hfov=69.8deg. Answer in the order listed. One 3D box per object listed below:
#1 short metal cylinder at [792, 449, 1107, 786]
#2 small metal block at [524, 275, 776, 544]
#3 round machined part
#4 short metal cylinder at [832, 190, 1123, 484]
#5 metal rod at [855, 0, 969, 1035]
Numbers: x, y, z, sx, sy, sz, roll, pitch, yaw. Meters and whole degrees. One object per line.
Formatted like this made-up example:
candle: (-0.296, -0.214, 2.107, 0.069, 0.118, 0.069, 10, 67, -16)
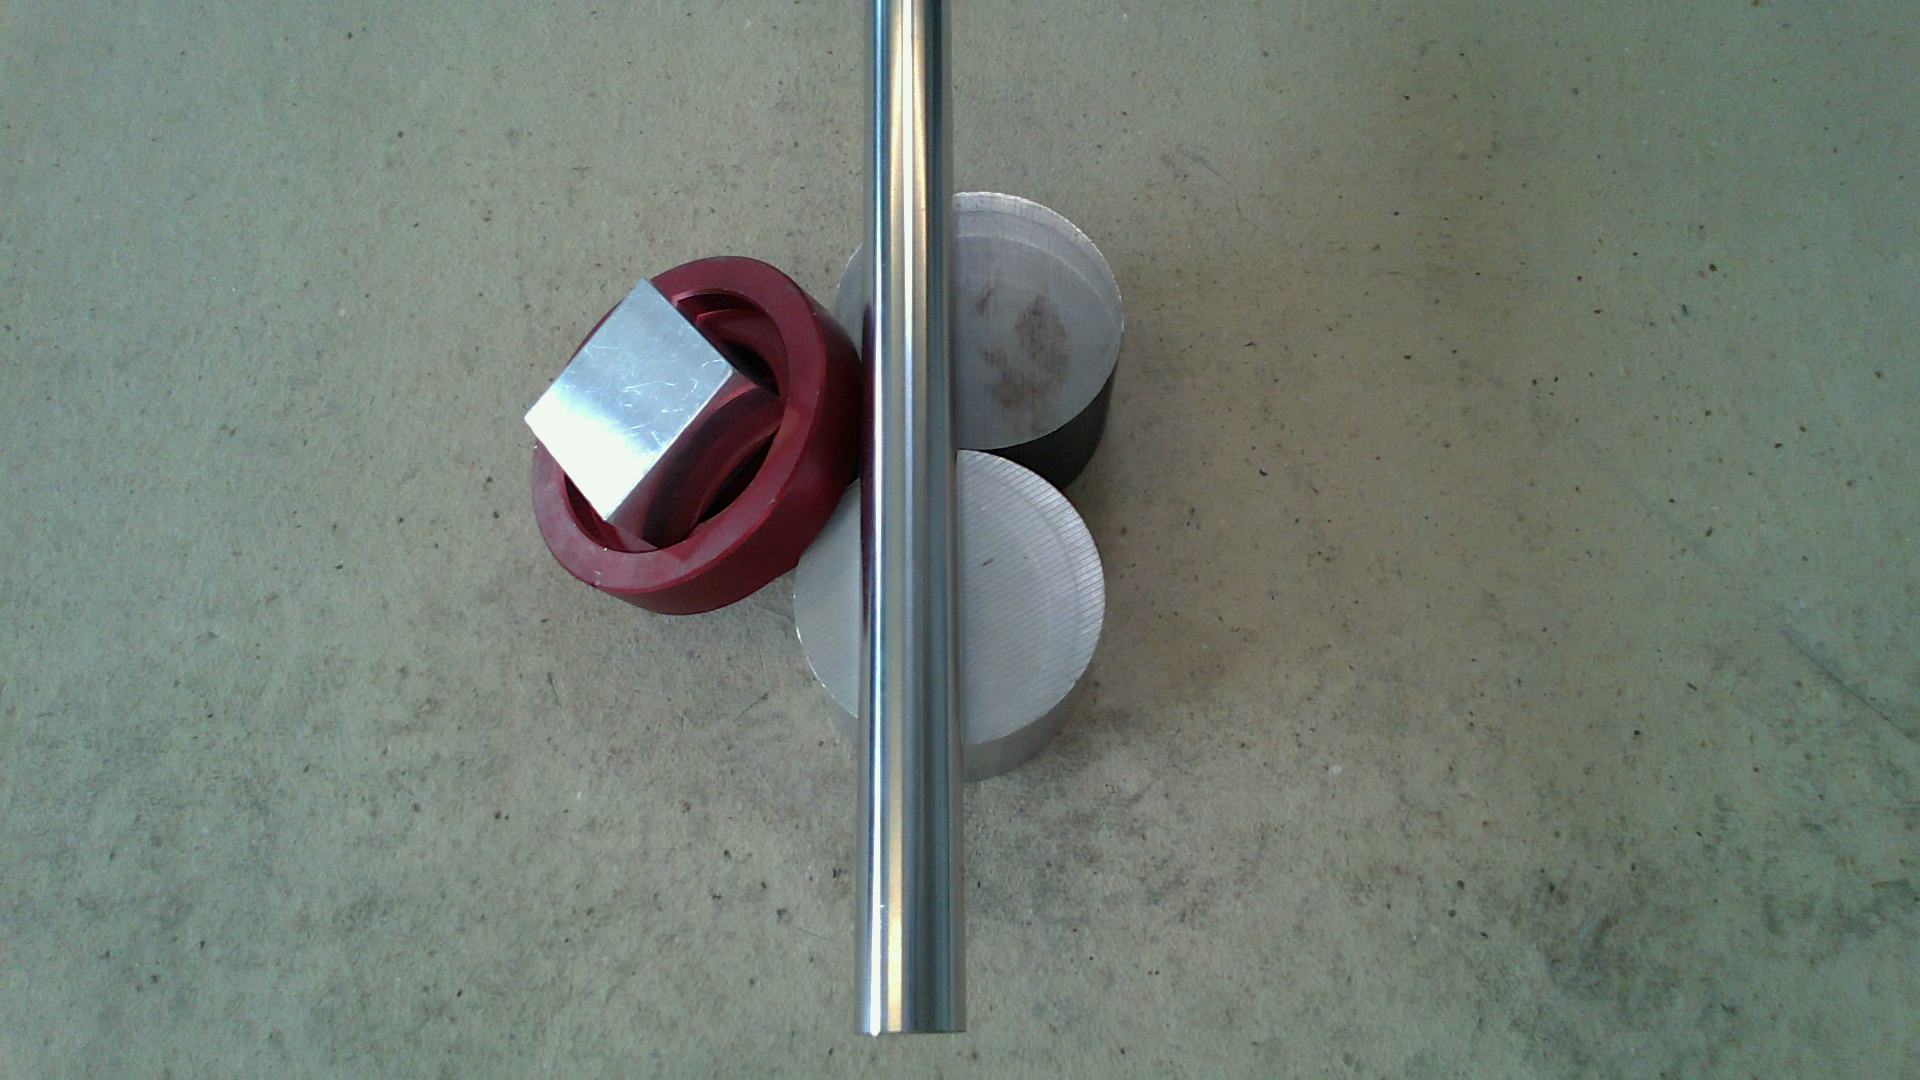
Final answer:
short metal cylinder: (-0.003, 0.022, 0.373, 0.080, 0.050, 0.080, 0, 69, 0)
small metal block: (-0.080, -0.033, 0.363, 0.050, 0.025, 0.050, -49, 54, 4)
round machined part: (-0.067, -0.026, 0.381, 0.098, 0.042, 0.098, -12, 64, 27)
short metal cylinder: (0.005, -0.053, 0.401, 0.080, 0.050, 0.080, 0, 70, 0)
metal rod: (-0.013, -0.032, 0.354, 0.025, 0.025, 0.300, -1, 70, 0)
